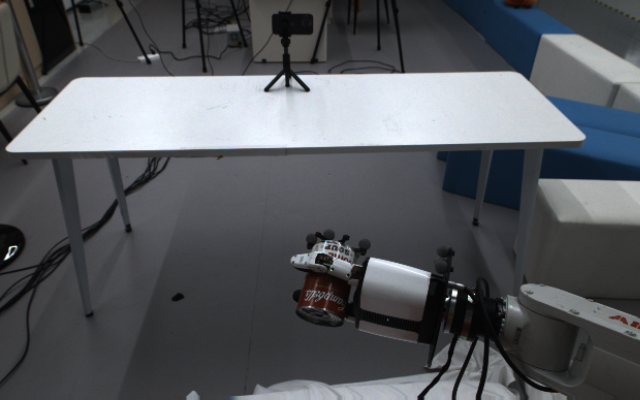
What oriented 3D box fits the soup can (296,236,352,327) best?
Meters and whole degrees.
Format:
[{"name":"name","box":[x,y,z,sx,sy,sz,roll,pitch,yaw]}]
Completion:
[{"name":"soup can","box":[0.012,0.115,0.668,0.067,0.067,0.101,9,58,10]}]
